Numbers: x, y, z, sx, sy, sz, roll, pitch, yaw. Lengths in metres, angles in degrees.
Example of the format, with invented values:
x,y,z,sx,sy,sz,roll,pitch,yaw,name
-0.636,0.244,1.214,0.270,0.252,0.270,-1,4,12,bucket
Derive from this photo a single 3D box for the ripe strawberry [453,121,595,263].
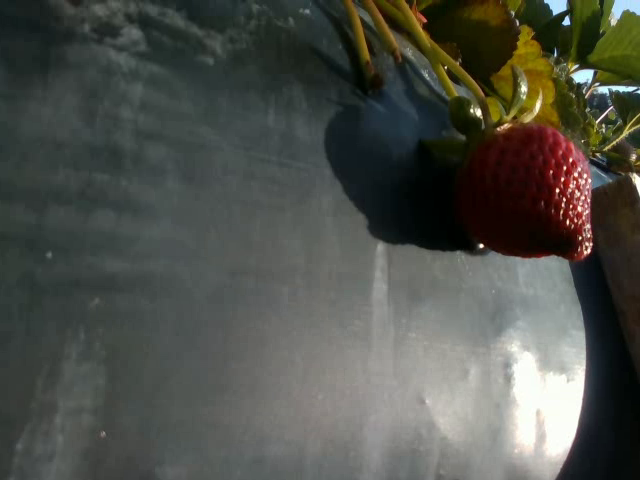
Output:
x,y,z,sx,sy,sz,roll,pitch,yaw,name
0.054,-0.009,0.153,0.040,0.044,0.037,-3,-33,-49,ripe strawberry
